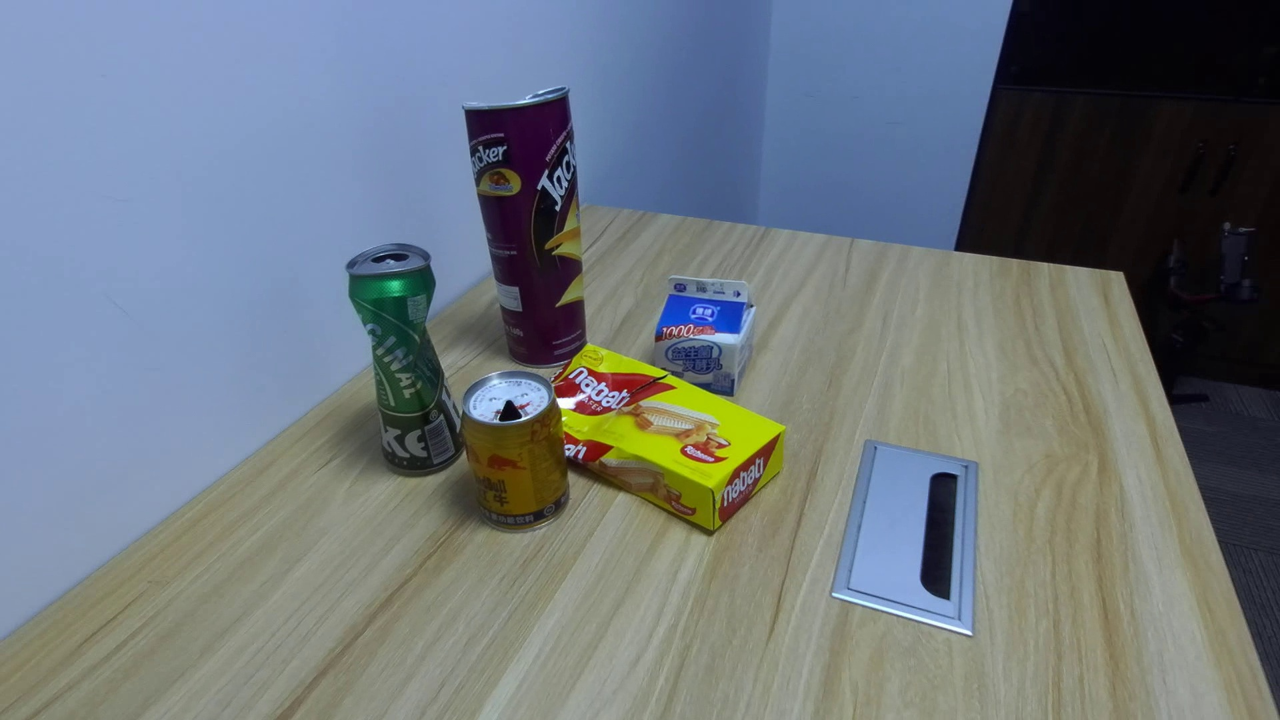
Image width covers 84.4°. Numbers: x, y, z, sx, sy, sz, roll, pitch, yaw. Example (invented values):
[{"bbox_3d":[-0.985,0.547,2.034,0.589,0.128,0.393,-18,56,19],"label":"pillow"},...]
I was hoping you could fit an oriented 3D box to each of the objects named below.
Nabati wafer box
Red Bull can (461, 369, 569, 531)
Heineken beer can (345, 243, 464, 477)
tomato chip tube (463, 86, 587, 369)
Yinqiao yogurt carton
[{"bbox_3d":[-0.003,0.052,0.538,0.203,0.042,0.107,23,39,35],"label":"Nabati wafer box"},{"bbox_3d":[-0.084,0.061,0.481,0.067,0.093,0.067,-1,33,1],"label":"Red Bull can"},{"bbox_3d":[-0.170,0.004,0.515,0.066,0.164,0.078,13,31,22],"label":"Heineken beer can"},{"bbox_3d":[-0.092,-0.110,0.620,0.077,0.235,0.076,1,32,6],"label":"tomato chip tube"},{"bbox_3d":[0.057,-0.030,0.615,0.075,0.092,0.074,9,33,18],"label":"Yinqiao yogurt carton"}]
